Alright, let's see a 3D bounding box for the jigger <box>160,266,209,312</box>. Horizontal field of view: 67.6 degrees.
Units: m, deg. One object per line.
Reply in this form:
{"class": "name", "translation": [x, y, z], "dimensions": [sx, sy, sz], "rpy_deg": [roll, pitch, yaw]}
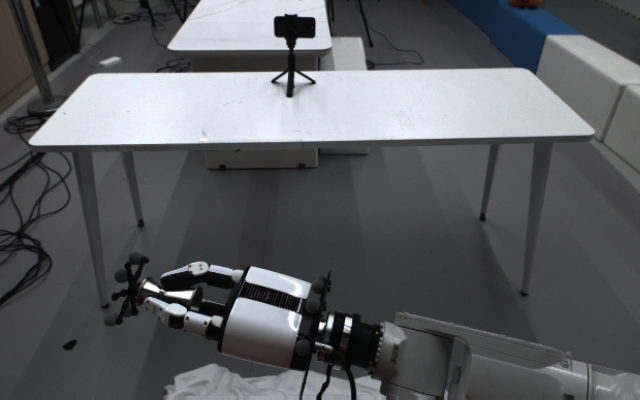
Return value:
{"class": "jigger", "translation": [-0.180, 0.120, 0.604], "dimensions": [0.071, 0.043, 0.043], "rpy_deg": [11, 35, 5]}
